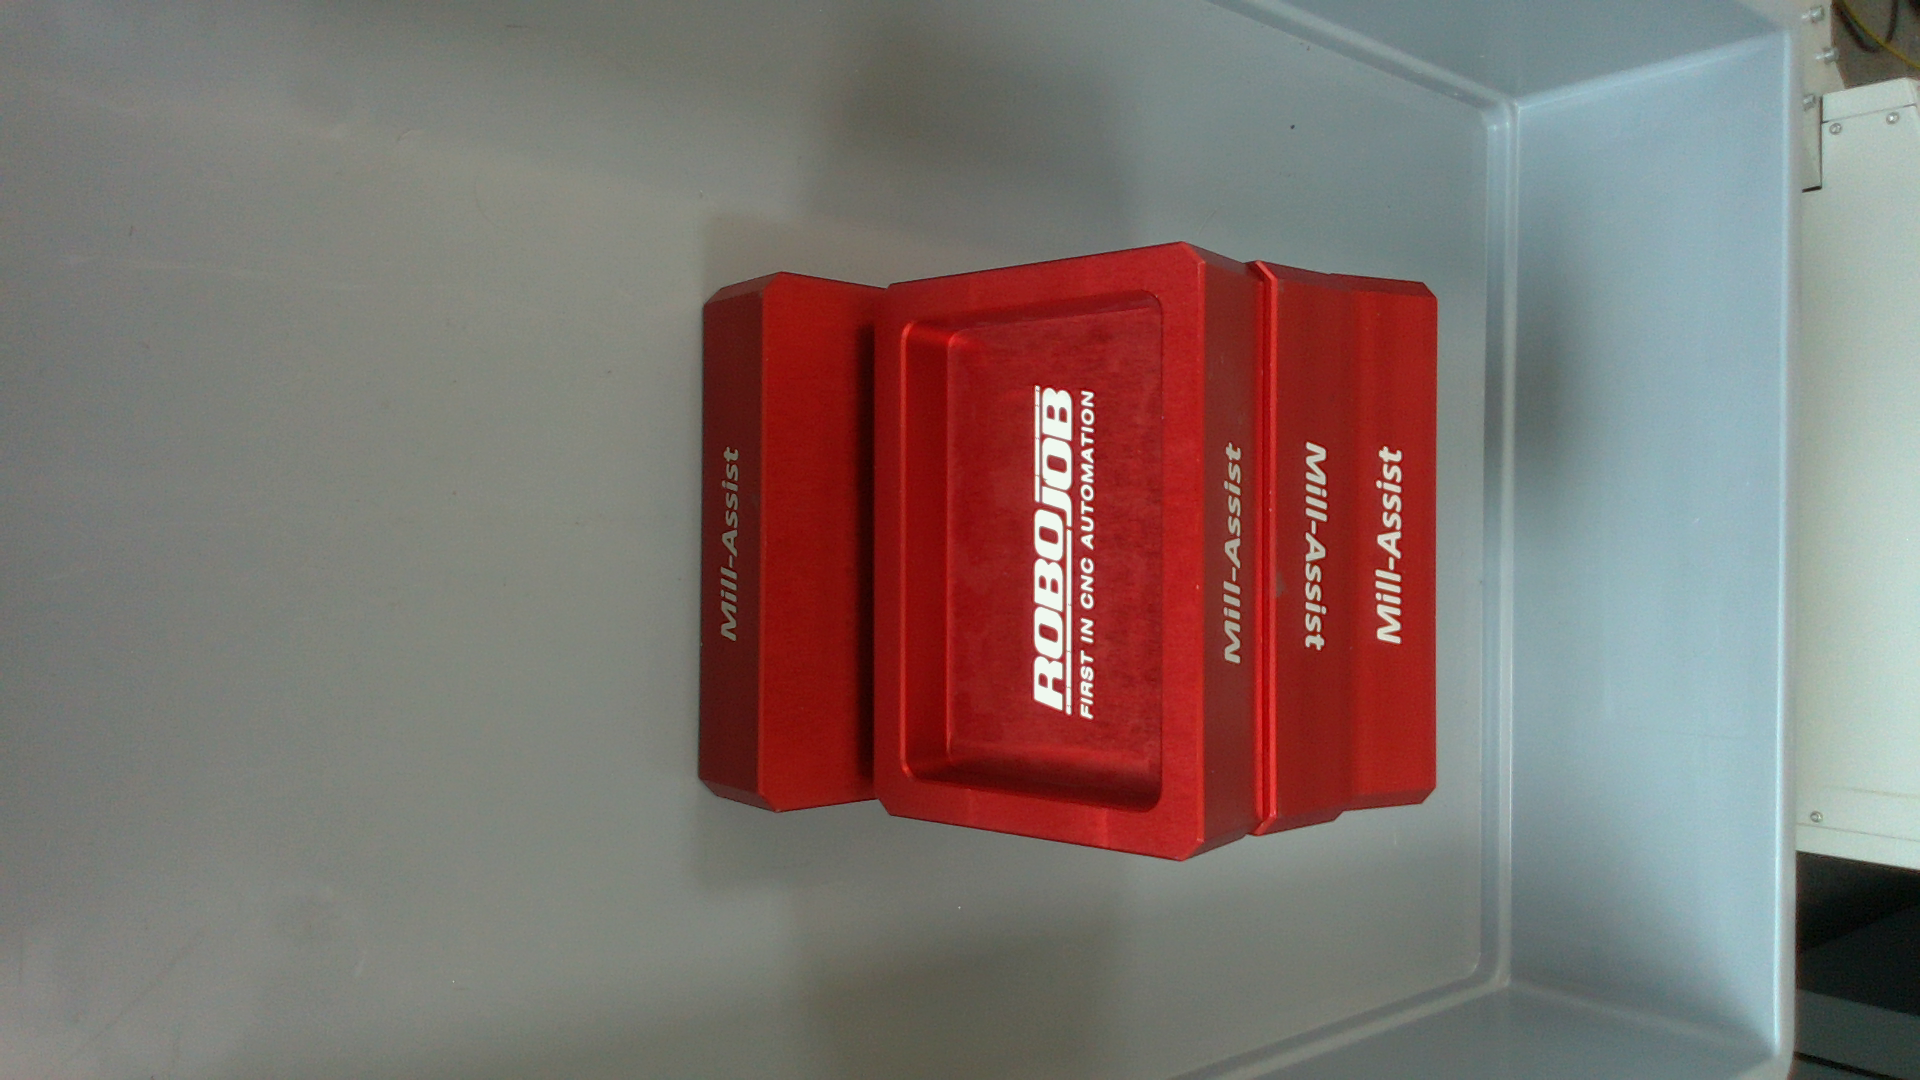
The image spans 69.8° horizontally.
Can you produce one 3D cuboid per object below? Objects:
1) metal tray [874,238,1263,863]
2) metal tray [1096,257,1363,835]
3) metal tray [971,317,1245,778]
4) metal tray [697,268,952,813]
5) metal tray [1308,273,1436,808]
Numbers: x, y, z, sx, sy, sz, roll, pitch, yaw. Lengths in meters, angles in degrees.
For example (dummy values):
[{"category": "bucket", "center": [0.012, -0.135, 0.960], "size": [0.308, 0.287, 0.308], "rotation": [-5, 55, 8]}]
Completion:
[{"category": "metal tray", "center": [0.023, 0.002, 0.322], "size": [0.030, 0.090, 0.130], "rotation": [0, 90, -52]}, {"category": "metal tray", "center": [0.053, 0.002, 0.349], "size": [0.030, 0.090, 0.130], "rotation": [0, 88, -40]}, {"category": "metal tray", "center": [0.047, 0.002, 0.424], "size": [0.090, 0.030, 0.130], "rotation": [1, 90, -40]}, {"category": "metal tray", "center": [-0.022, 0.000, 0.365], "size": [0.090, 0.030, 0.130], "rotation": [1, 90, -40]}, {"category": "metal tray", "center": [0.085, 0.000, 0.374], "size": [0.030, 0.090, 0.130], "rotation": [0, 90, -25]}]
